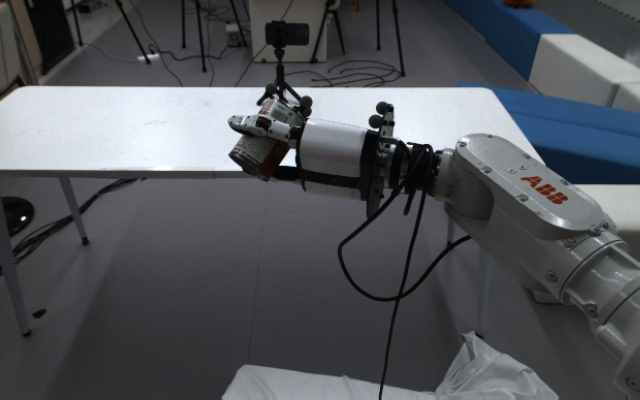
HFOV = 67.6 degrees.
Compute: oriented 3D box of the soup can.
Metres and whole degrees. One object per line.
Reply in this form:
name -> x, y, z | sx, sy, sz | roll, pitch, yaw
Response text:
soup can -> -0.074, -0.085, 0.690 | 0.067, 0.067, 0.101 | 27, 78, 31
